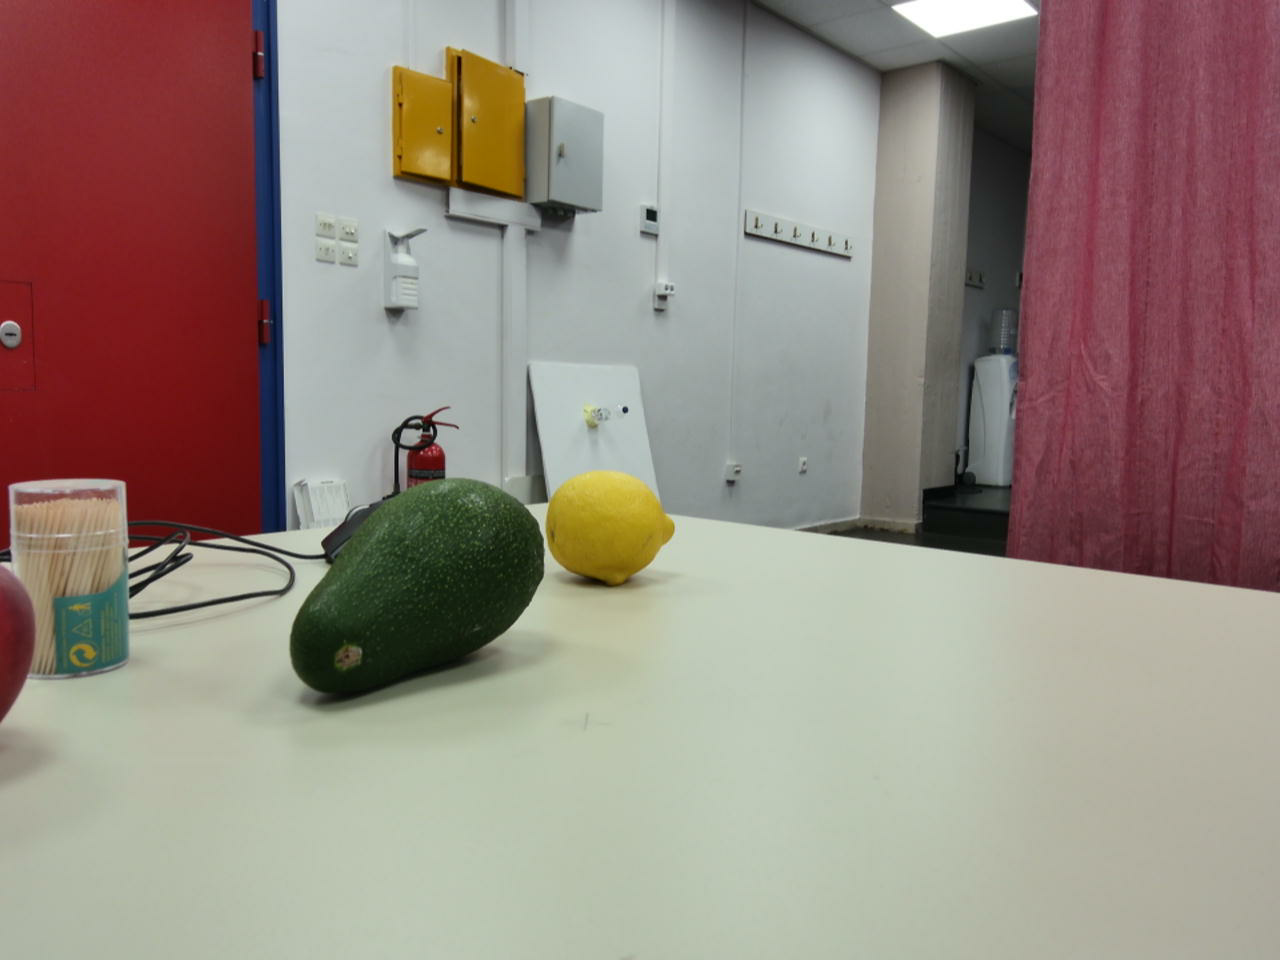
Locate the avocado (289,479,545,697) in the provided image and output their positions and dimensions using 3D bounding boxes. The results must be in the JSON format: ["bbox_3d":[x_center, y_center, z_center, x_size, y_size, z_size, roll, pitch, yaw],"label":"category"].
[{"bbox_3d":[-0.093,0.039,0.411,0.123,0.076,0.074,-2,5,-44],"label":"avocado"}]
